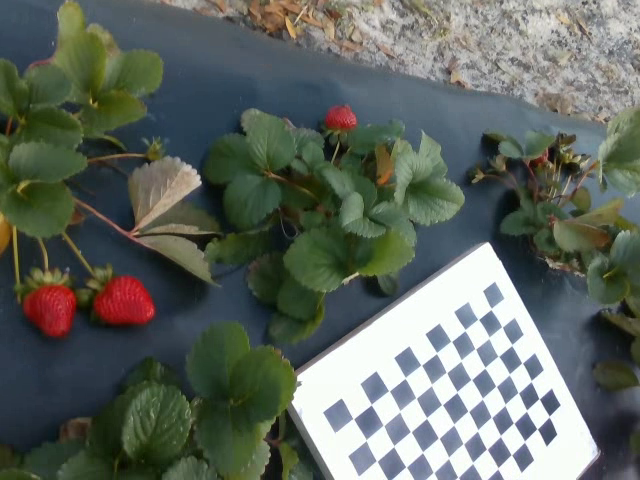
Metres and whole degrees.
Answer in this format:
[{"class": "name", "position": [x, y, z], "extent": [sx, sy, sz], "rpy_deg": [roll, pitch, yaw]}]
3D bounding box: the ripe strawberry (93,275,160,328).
[{"class": "ripe strawberry", "position": [-0.184, 0.062, 0.576], "extent": [0.064, 0.058, 0.051], "rpy_deg": [27, -30, 18]}]

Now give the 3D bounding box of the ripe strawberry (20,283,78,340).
[{"class": "ripe strawberry", "position": [-0.242, 0.068, 0.553], "extent": [0.048, 0.056, 0.041], "rpy_deg": [-14, -31, -29]}]
